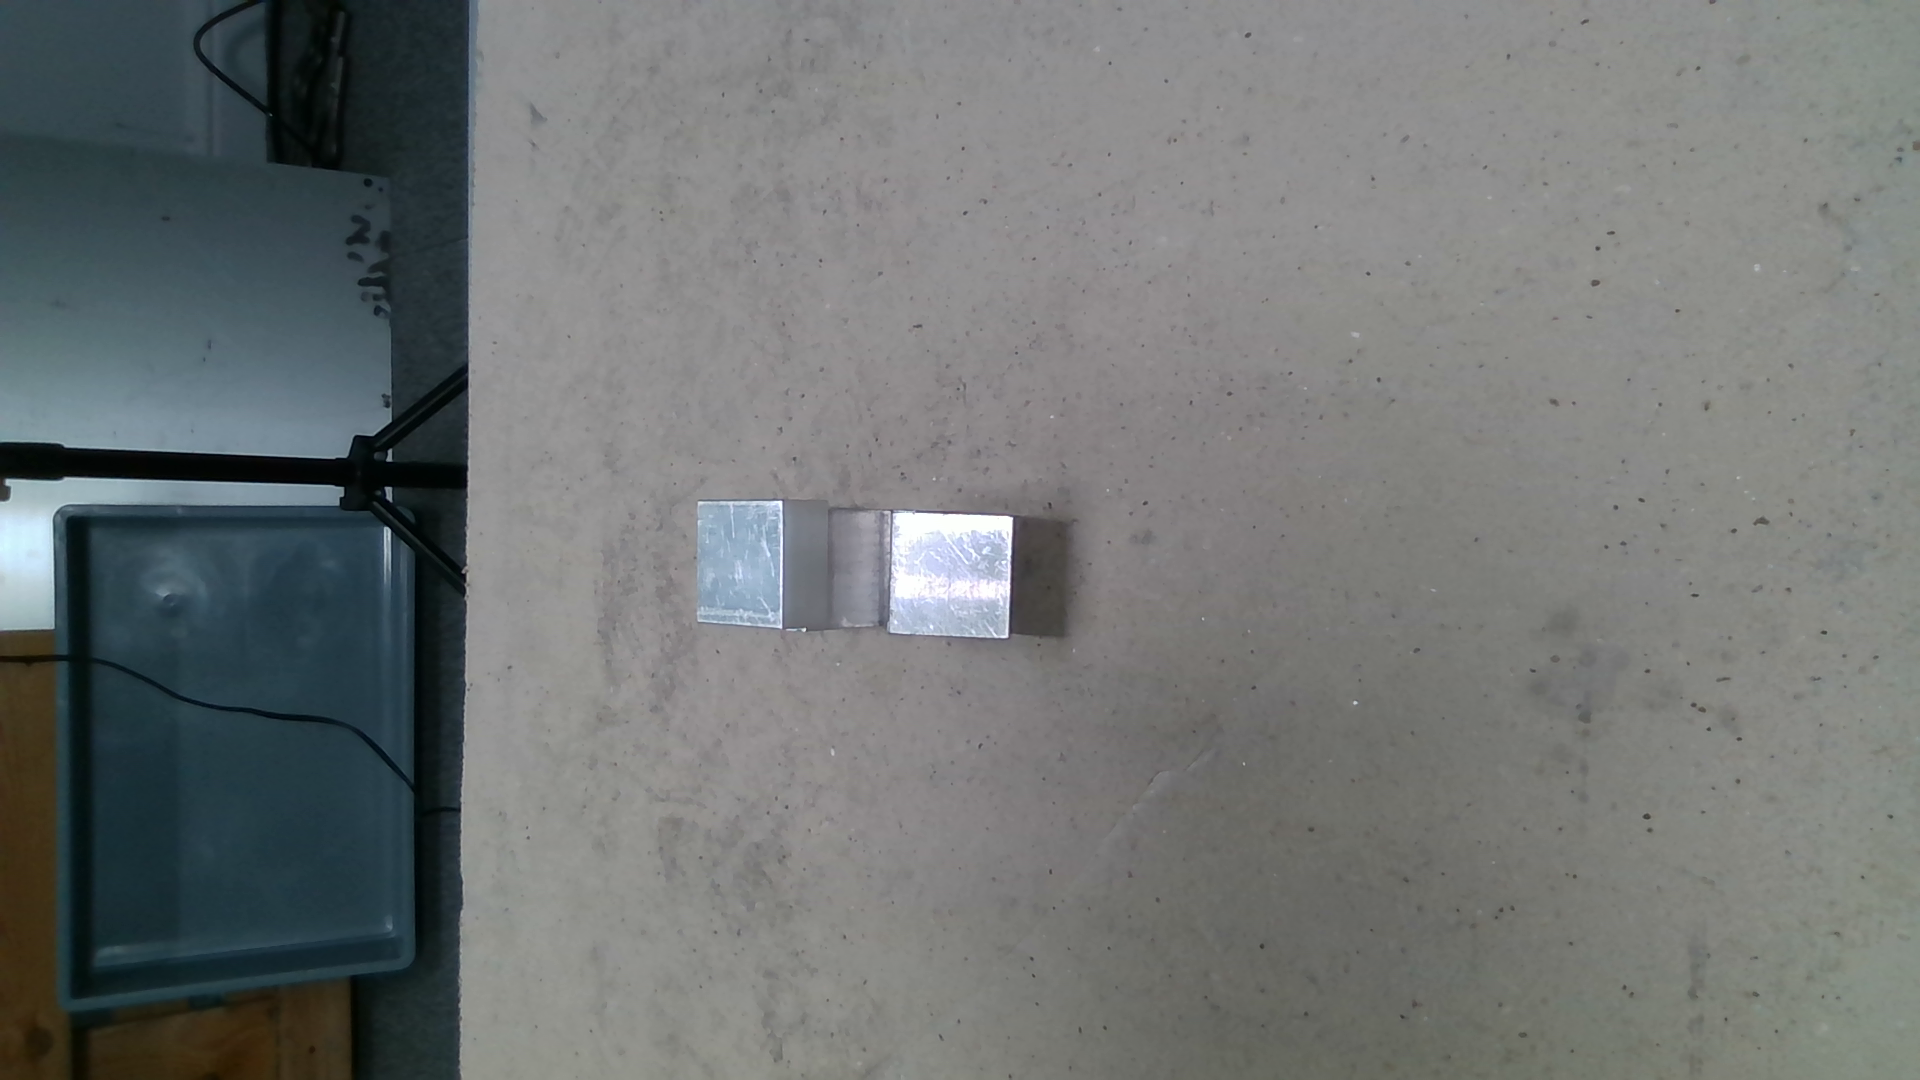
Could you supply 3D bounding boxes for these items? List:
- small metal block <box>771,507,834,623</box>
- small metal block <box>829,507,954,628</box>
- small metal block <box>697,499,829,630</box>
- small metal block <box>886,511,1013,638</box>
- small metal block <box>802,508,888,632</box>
[{"bbox_3d":[-0.072,0.010,0.627,0.050,0.025,0.050,-168,80,-81],"label":"small metal block"},{"bbox_3d":[-0.031,0.011,0.609,0.050,0.025,0.050,3,92,40],"label":"small metal block"},{"bbox_3d":[-0.079,0.009,0.551,0.050,0.025,0.050,1,91,40],"label":"small metal block"},{"bbox_3d":[-0.004,0.014,0.570,0.050,0.025,0.050,2,92,4],"label":"small metal block"},{"bbox_3d":[-0.056,0.012,0.580,0.025,0.050,0.050,3,92,40],"label":"small metal block"}]
